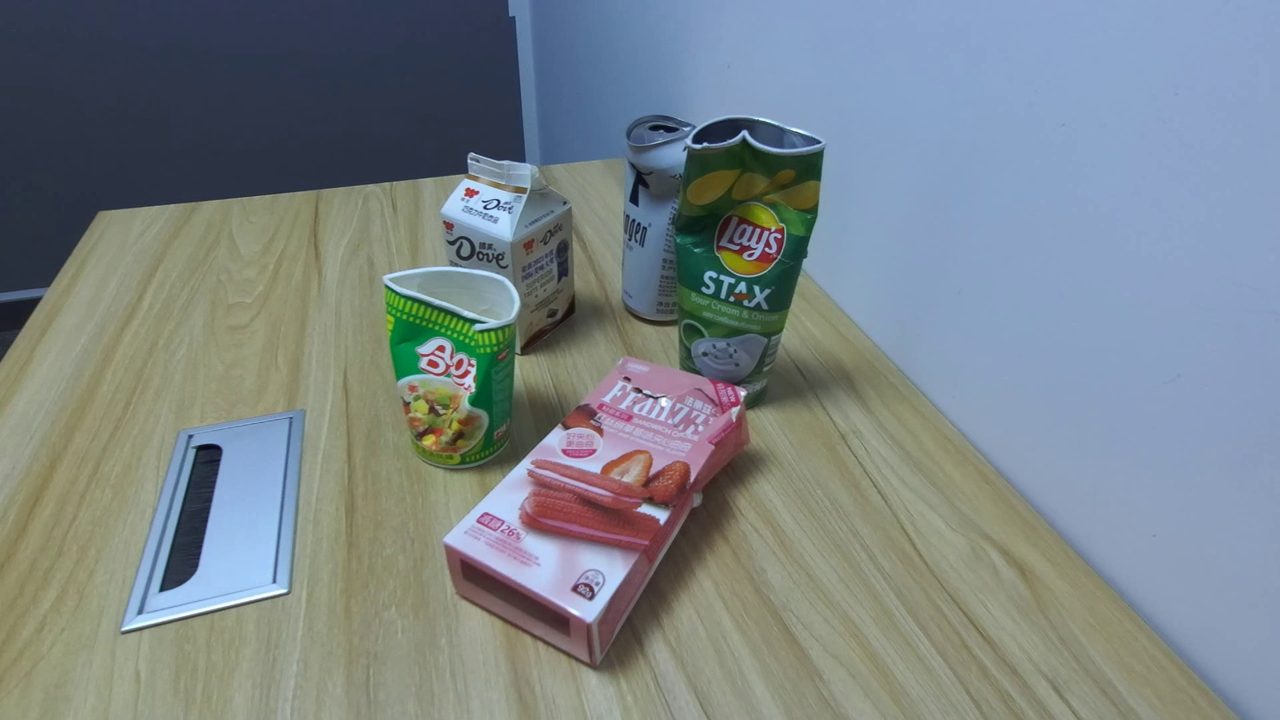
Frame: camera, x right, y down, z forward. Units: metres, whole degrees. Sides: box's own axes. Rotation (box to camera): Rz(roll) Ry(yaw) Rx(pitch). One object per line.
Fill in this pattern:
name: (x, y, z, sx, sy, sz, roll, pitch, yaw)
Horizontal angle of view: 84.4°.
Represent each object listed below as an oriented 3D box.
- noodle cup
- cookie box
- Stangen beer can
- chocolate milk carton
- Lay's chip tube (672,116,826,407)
noodle cup: (-0.120, 0.008, 0.465, 0.075, 0.122, 0.082, -7, 28, -25)
cookie box: (-0.018, 0.078, 0.424, 0.104, 0.059, 0.186, 18, 45, 25)
Stangen beer can: (0.017, -0.112, 0.582, 0.077, 0.162, 0.066, 11, 35, 14)
chocolate milk carton: (-0.102, -0.091, 0.560, 0.075, 0.148, 0.074, 24, 45, 25)
Lay's chip tube: (0.066, -0.060, 0.483, 0.077, 0.201, 0.069, -9, 38, -10)
